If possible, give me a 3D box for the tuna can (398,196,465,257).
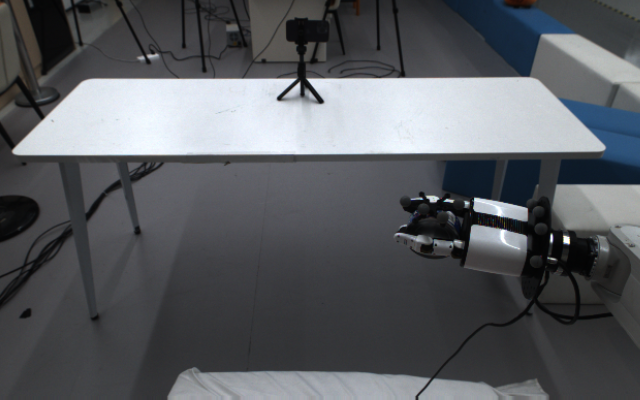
[{"bbox_3d":[0.181,0.050,0.769,0.085,0.085,0.034,12,39,14],"label":"tuna can"}]
